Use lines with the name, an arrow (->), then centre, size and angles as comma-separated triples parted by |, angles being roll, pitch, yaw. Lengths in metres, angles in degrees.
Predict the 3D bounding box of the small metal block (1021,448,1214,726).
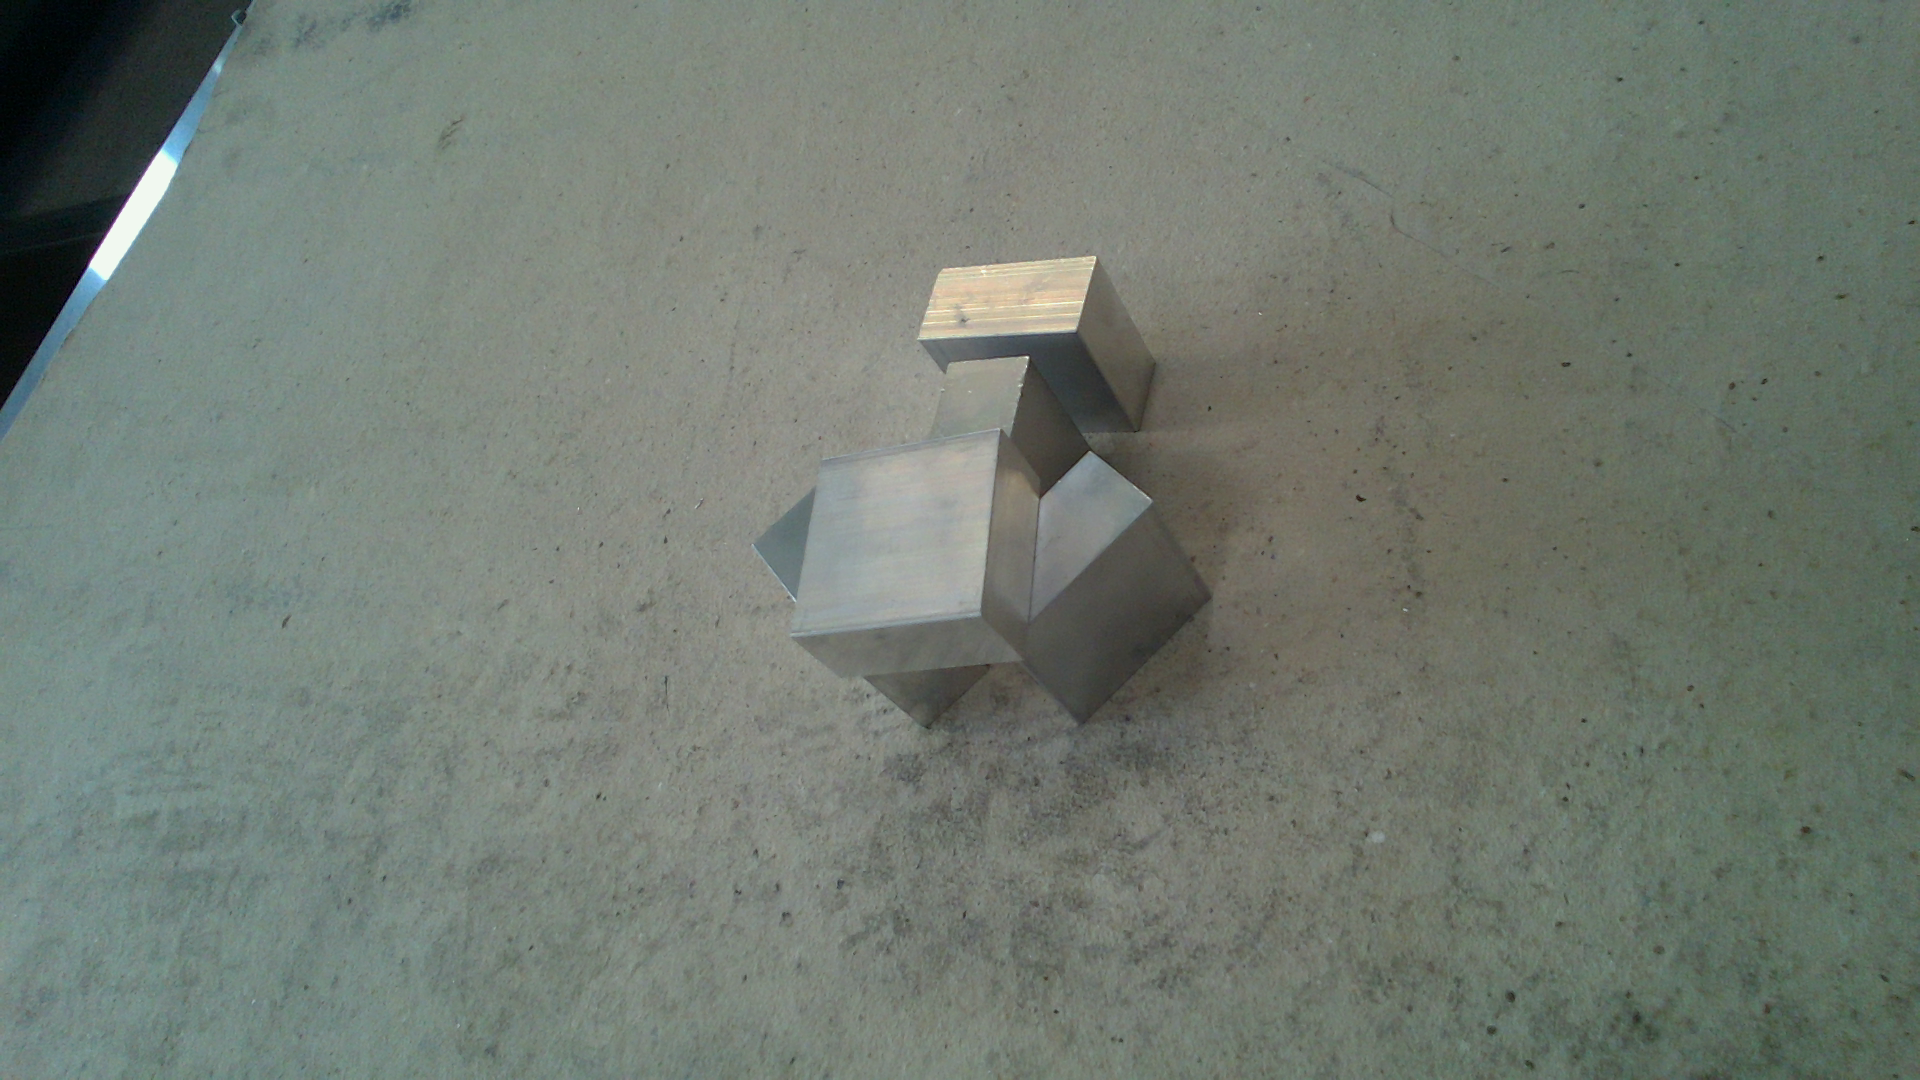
small metal block -> 0.032, 0.013, 0.353 | 0.050, 0.050, 0.025 | -45, 51, -3

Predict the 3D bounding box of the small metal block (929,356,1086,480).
small metal block -> 0.012, -0.015, 0.382 | 0.025, 0.050, 0.050 | -1, 61, 28

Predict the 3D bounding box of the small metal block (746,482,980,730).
small metal block -> -0.026, 0.019, 0.380 | 0.025, 0.050, 0.050 | -42, 52, -1

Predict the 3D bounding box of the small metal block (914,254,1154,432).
small metal block -> 0.023, -0.055, 0.400 | 0.050, 0.050, 0.025 | 2, 62, 29

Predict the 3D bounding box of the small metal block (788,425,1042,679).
small metal block -> -0.010, 0.004, 0.333 | 0.050, 0.025, 0.050 | -8, 57, 25
